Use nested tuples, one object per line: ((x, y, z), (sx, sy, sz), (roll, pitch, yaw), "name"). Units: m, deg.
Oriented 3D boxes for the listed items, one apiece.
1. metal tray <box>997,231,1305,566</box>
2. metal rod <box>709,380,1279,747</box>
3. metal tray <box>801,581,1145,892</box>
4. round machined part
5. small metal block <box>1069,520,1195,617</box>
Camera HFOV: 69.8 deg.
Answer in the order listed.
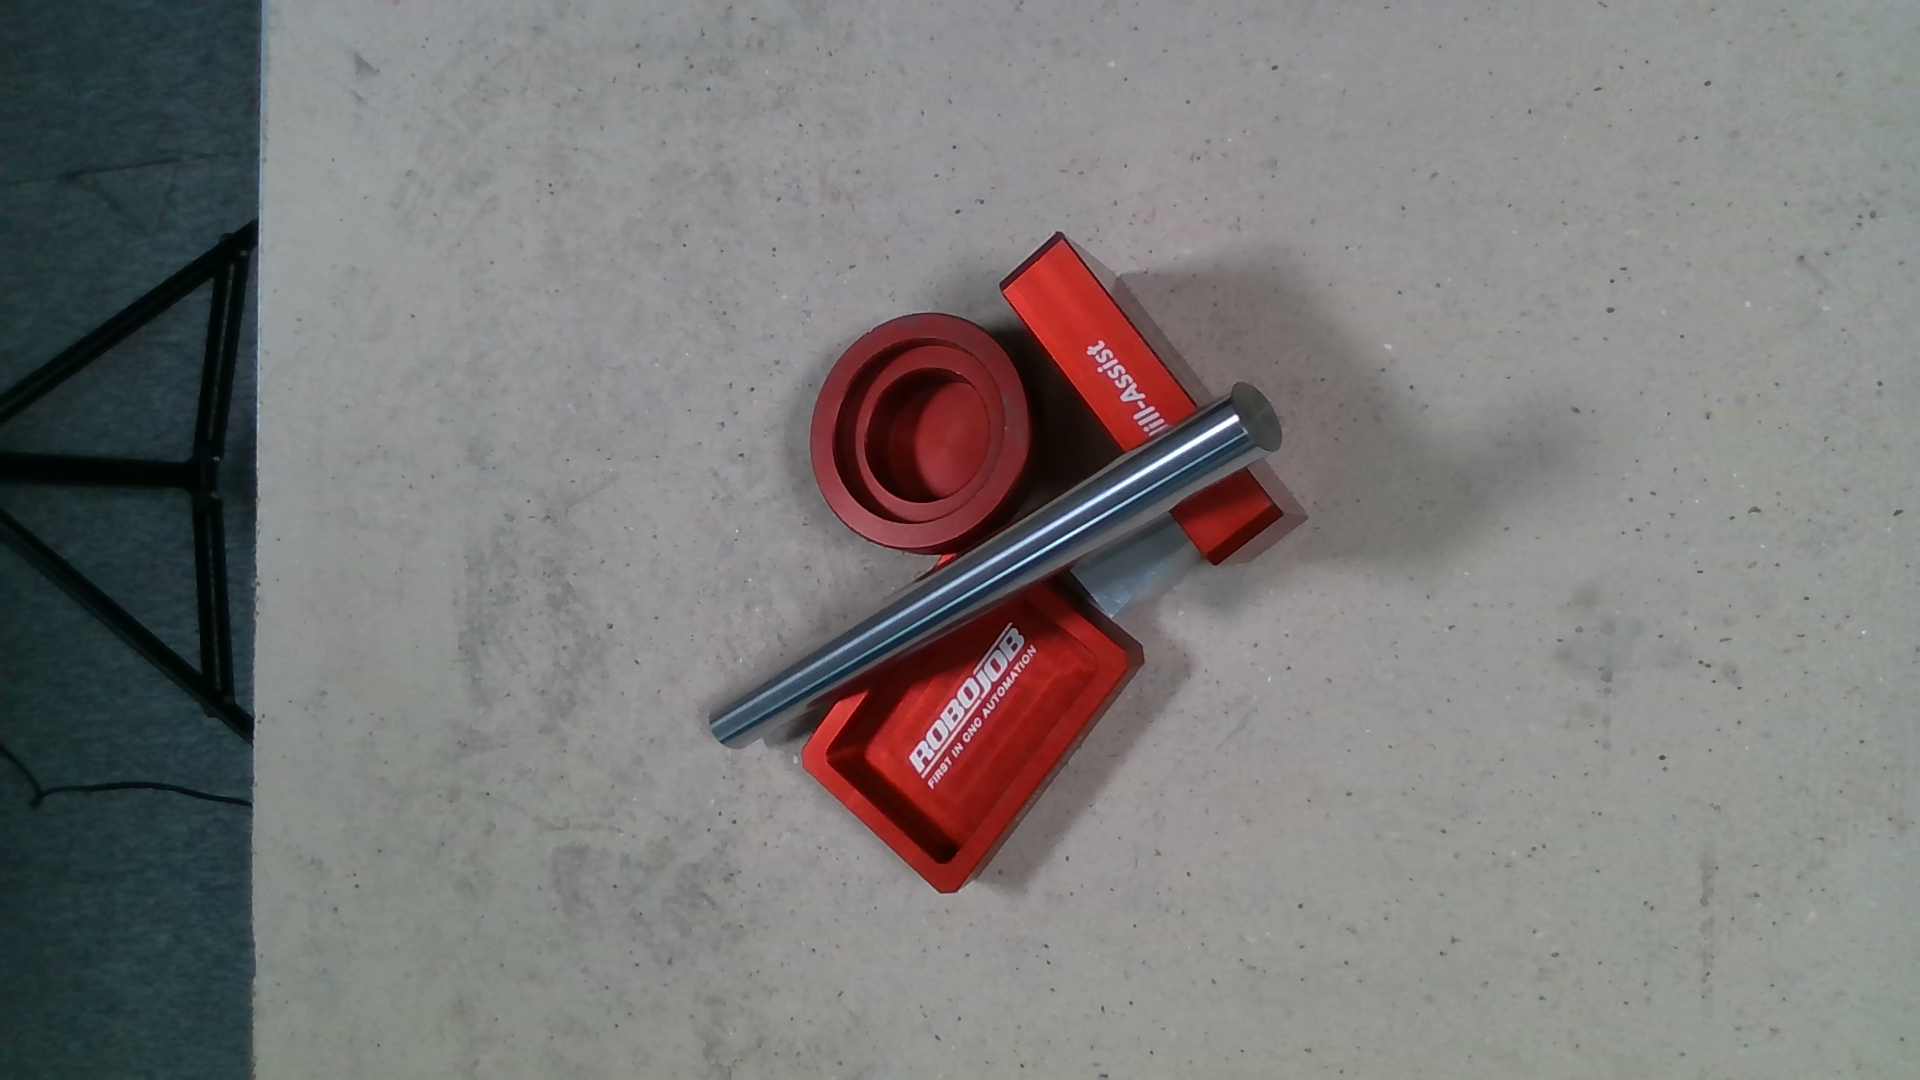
((0.075, -0.051, 0.522), (0.030, 0.090, 0.130), (-39, 78, 16), "metal tray")
((-0.005, 0.021, 0.531), (0.301, 0.025, 0.025), (-32, 79, 40), "metal rod")
((0.004, 0.071, 0.582), (0.090, 0.030, 0.130), (40, 103, 16), "metal tray")
((-0.010, -0.042, 0.576), (0.098, 0.042, 0.098), (-3, 83, 23), "round machined part")
((0.078, 0.000, 0.538), (0.025, 0.050, 0.050), (50, 120, 16), "small metal block")
